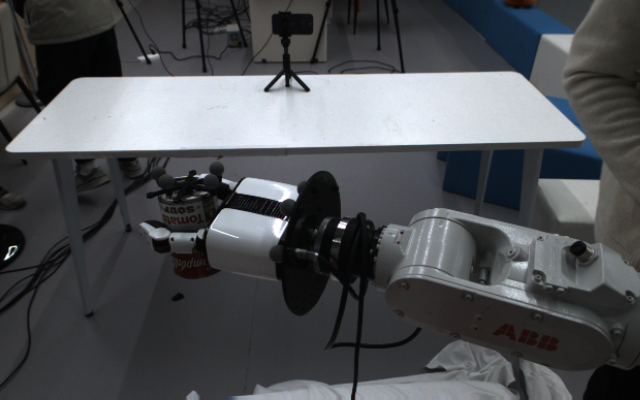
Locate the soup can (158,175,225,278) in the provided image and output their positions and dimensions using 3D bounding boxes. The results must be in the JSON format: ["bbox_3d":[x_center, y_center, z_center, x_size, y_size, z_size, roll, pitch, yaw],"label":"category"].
[{"bbox_3d":[-0.149,0.034,0.579,0.067,0.101,0.067,-4,26,2],"label":"soup can"}]
